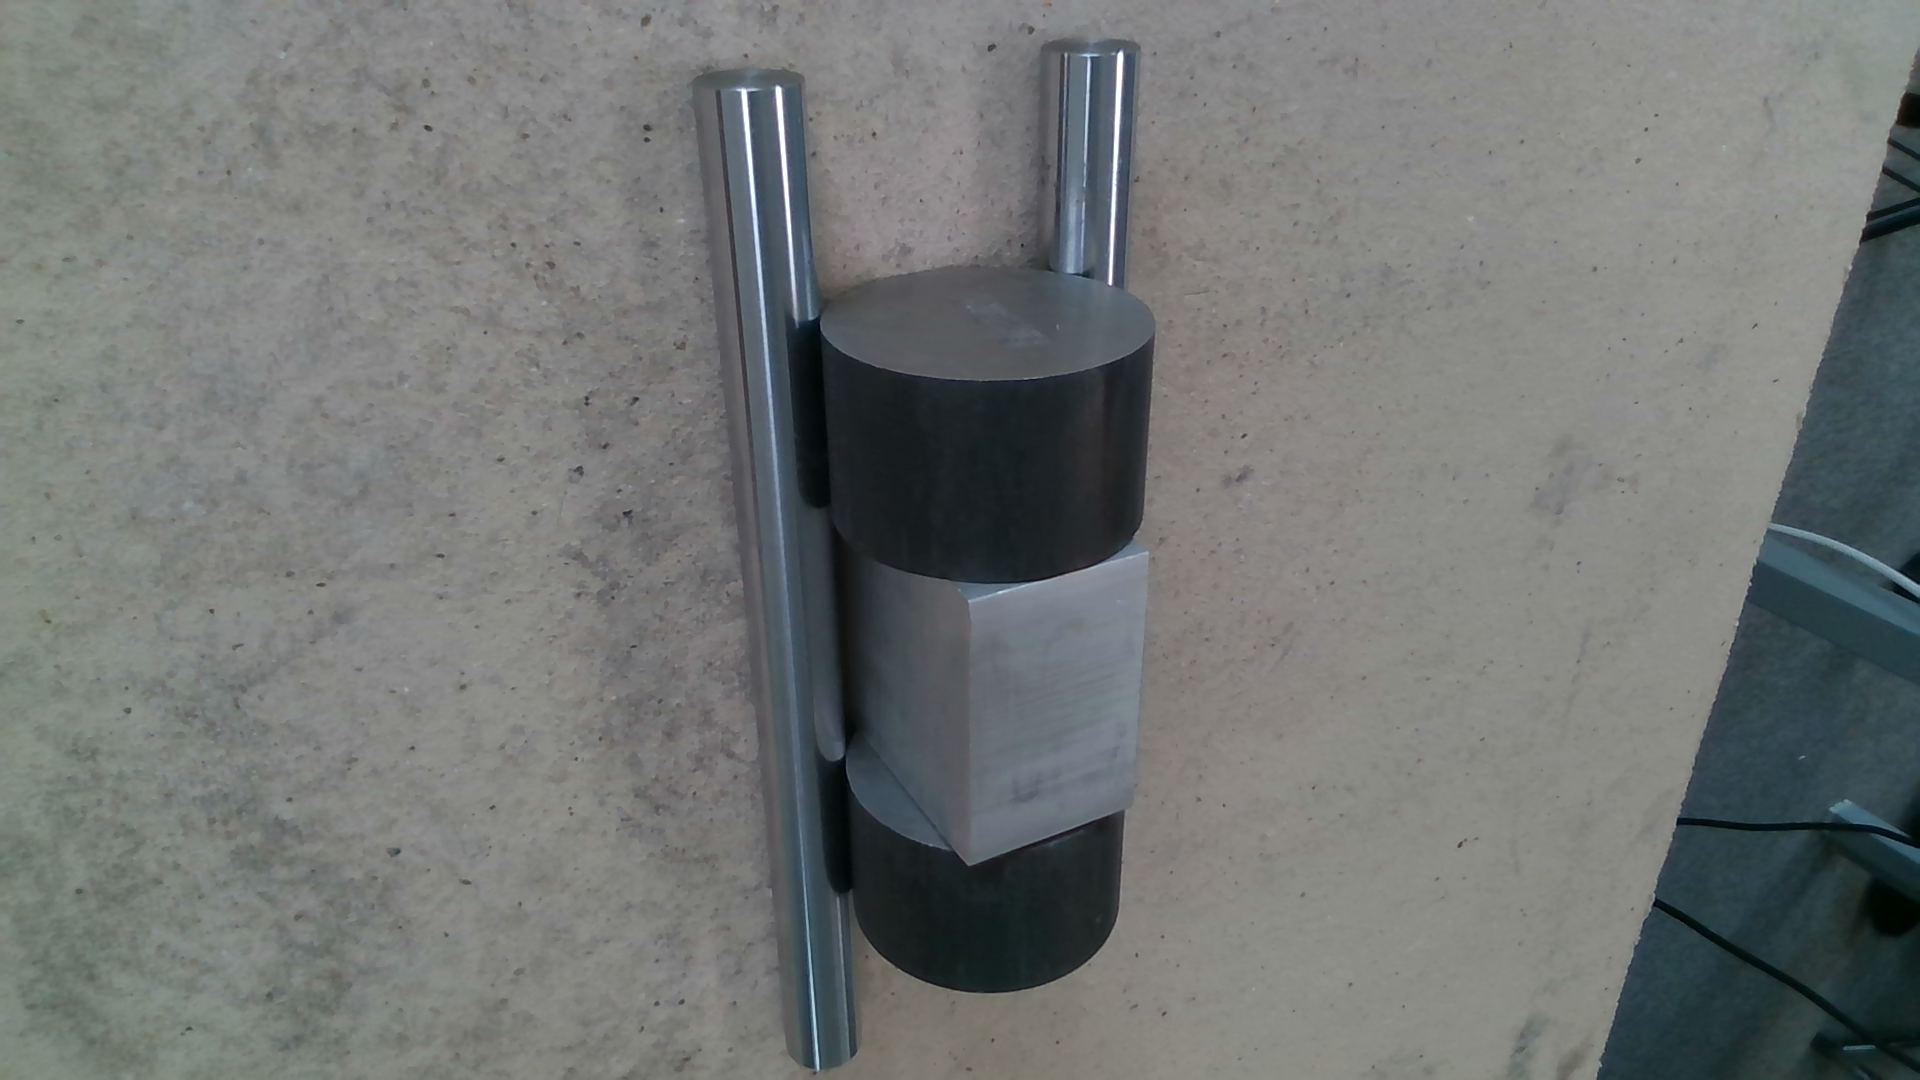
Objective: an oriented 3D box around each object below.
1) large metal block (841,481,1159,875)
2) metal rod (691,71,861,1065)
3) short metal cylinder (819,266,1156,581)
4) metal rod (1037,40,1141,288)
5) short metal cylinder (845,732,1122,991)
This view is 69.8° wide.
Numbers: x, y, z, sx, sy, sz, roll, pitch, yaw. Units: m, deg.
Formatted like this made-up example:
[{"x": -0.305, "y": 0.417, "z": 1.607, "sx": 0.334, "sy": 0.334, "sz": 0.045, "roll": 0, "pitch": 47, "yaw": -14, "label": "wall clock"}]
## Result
[{"x": 0.007, "y": 0.027, "z": 0.370, "sx": 0.050, "sy": 0.080, "sz": 0.080, "roll": -14, "pitch": 122, "yaw": -25, "label": "large metal block"}, {"x": -0.046, "y": 0.030, "z": 0.378, "sx": 0.025, "sy": 0.025, "sz": 0.301, "roll": -15, "pitch": 122, "yaw": -24, "label": "metal rod"}, {"x": 0.007, "y": -0.031, "z": 0.341, "sx": 0.080, "sy": 0.080, "sz": 0.050, "roll": -15, "pitch": 122, "yaw": -24, "label": "short metal cylinder"}, {"x": 0.034, "y": 0.009, "z": 0.416, "sx": 0.025, "sy": 0.025, "sz": 0.301, "roll": -15, "pitch": 122, "yaw": -24, "label": "metal rod"}, {"x": 0.008, "y": 0.084, "z": 0.404, "sx": 0.080, "sy": 0.080, "sz": 0.050, "roll": -15, "pitch": 122, "yaw": -24, "label": "short metal cylinder"}]
